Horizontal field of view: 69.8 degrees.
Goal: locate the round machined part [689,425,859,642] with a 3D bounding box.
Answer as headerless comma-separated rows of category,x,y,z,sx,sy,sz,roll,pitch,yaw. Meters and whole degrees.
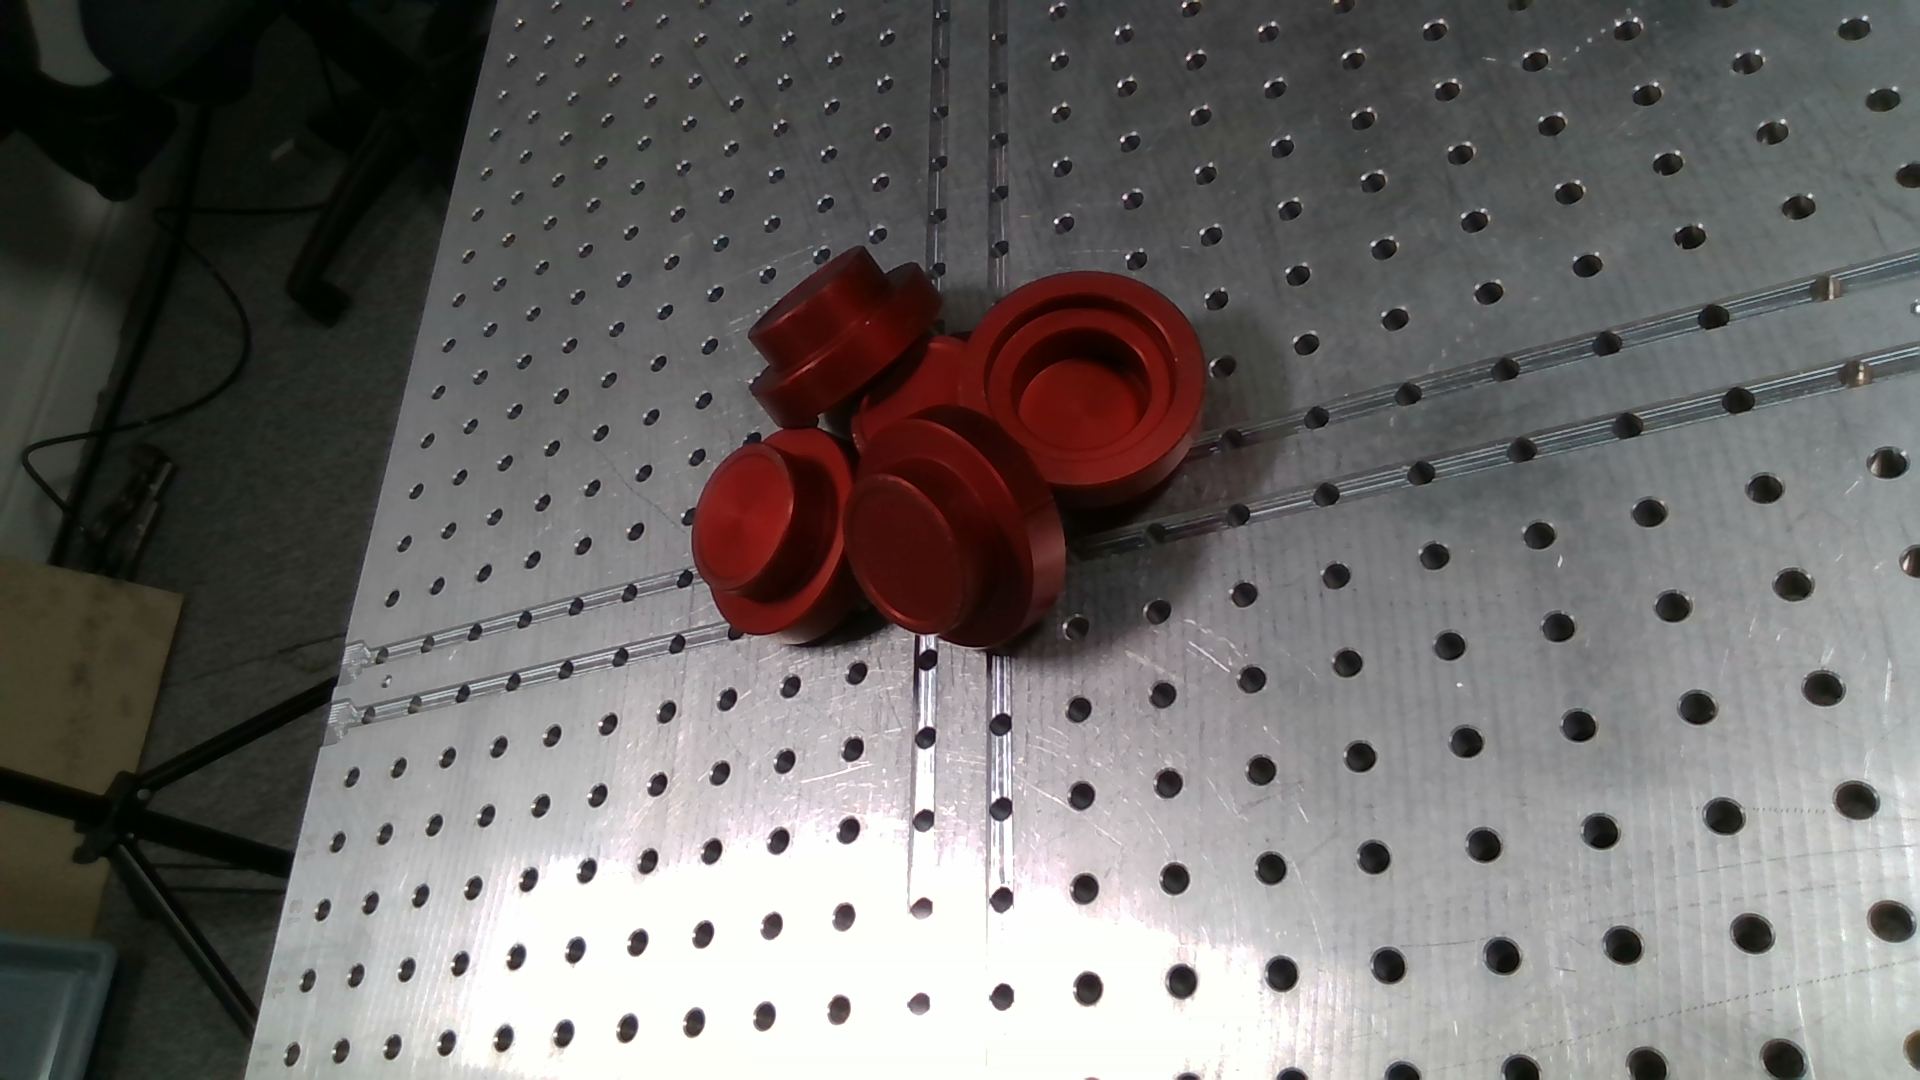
round machined part,-0.083,-0.006,0.616,0.098,0.042,0.098,-16,64,37

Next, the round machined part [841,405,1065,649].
round machined part,-0.009,-0.001,0.546,0.098,0.098,0.042,22,37,38

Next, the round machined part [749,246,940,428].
round machined part,-0.060,-0.099,0.636,0.098,0.042,0.098,-34,20,14

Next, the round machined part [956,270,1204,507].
round machined part,0.050,-0.058,0.563,0.098,0.042,0.098,-3,67,7

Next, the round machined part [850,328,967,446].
round machined part,-0.010,-0.053,0.610,0.098,0.042,0.098,-14,59,25
